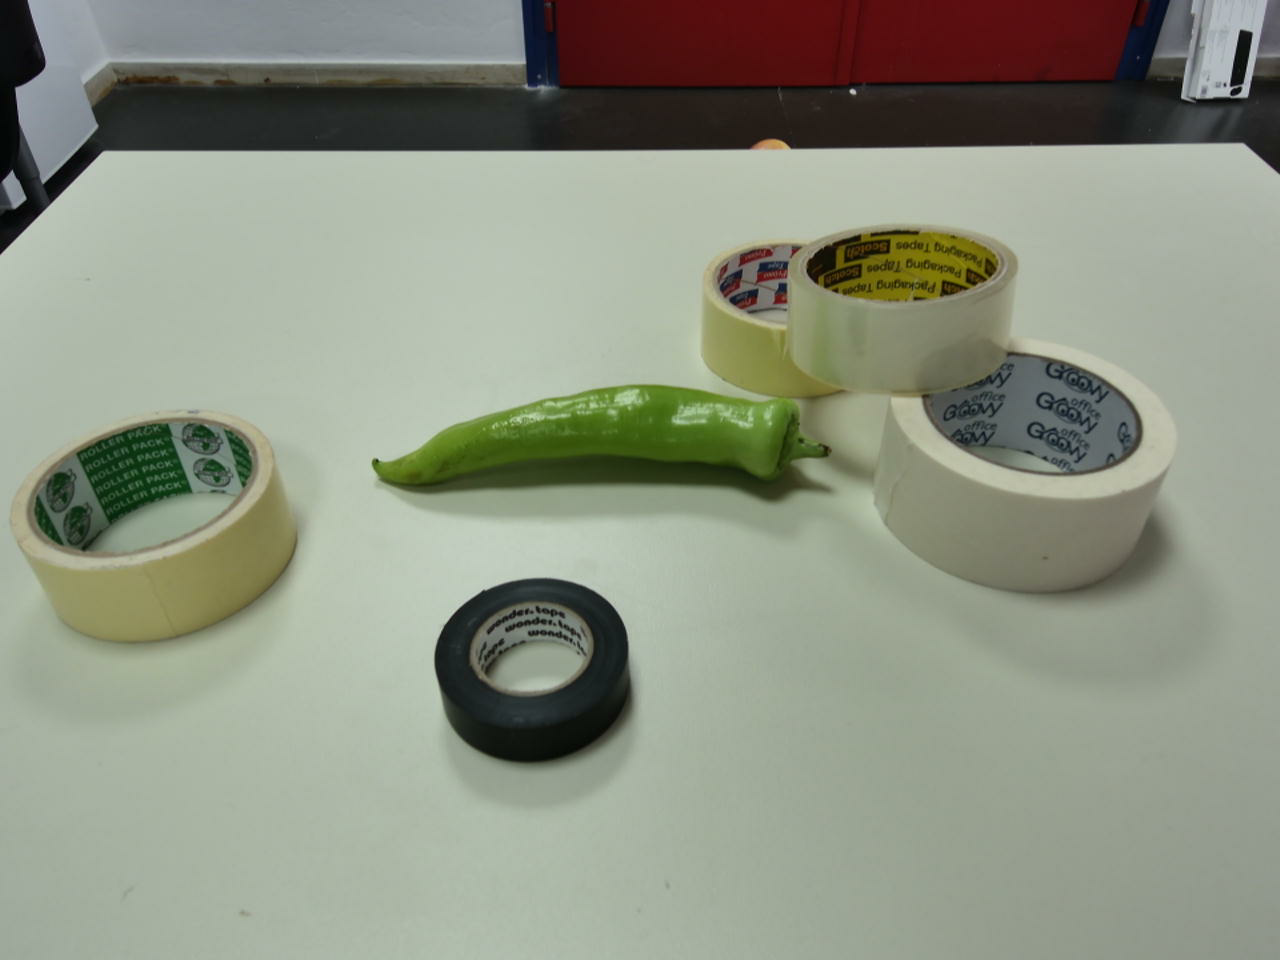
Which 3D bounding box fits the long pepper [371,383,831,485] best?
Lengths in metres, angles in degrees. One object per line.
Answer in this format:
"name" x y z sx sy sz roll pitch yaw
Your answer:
"long pepper" -0.017 -0.021 0.434 0.197 0.038 0.046 1 39 2
